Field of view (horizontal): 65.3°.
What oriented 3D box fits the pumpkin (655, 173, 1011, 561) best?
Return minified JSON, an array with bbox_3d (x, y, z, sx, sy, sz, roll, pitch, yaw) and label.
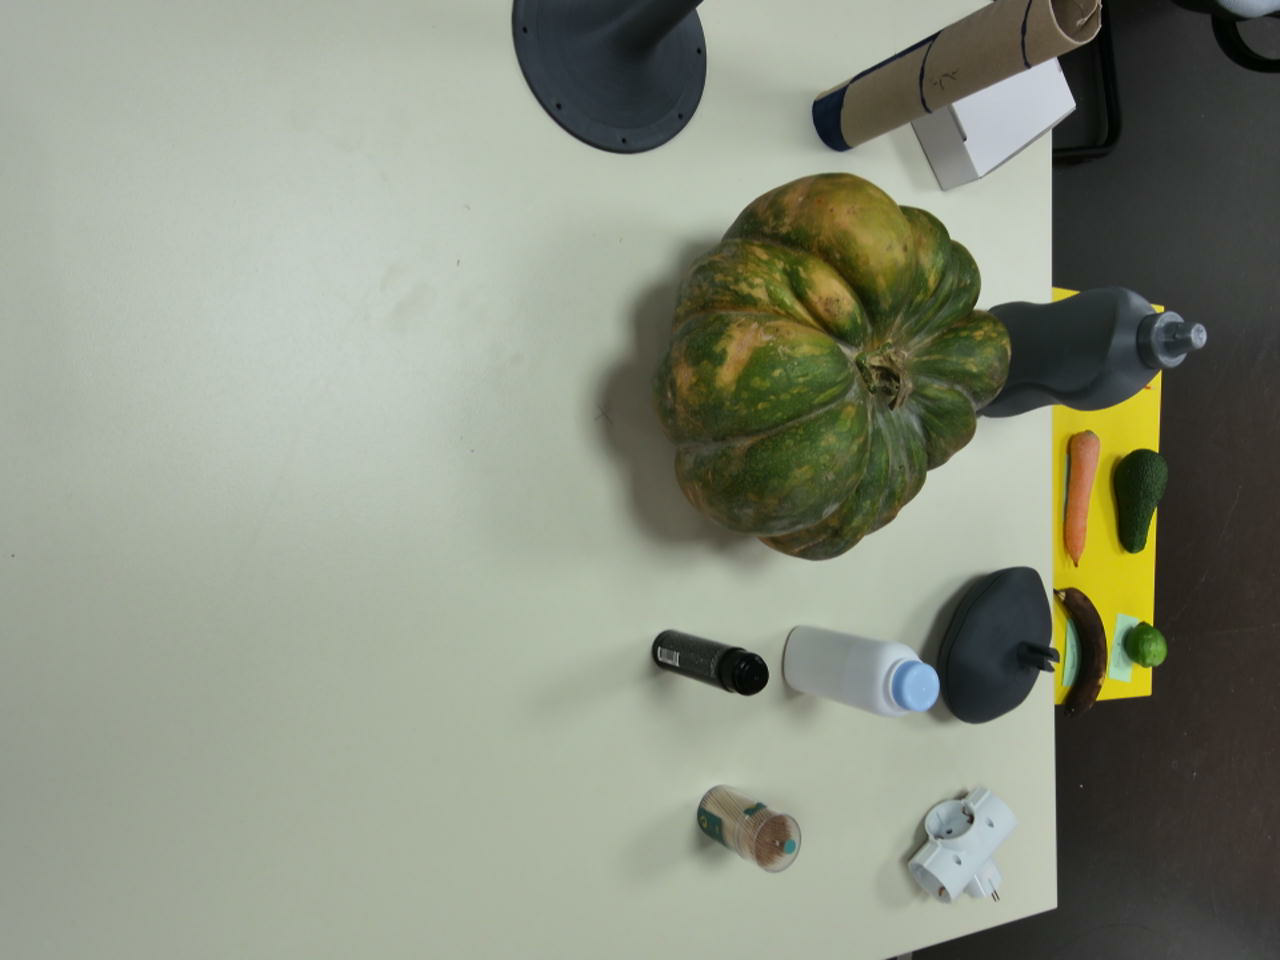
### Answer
[{"bbox_3d":[0.130,-0.075,0.685,0.237,0.173,0.270,40,73,-23],"label":"pumpkin"}]
